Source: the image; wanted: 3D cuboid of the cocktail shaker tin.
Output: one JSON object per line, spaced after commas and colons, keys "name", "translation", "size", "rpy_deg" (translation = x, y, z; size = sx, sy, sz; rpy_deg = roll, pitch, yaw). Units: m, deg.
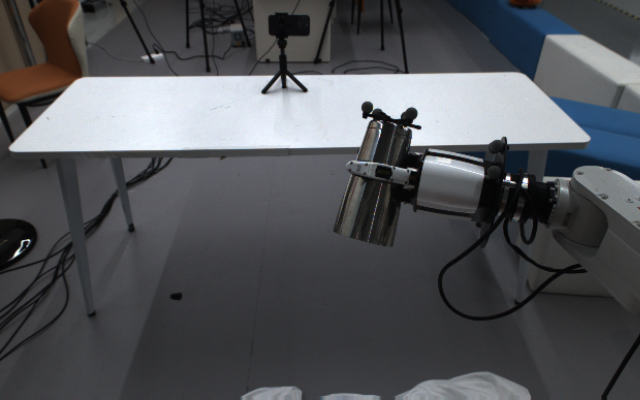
{"name": "cocktail shaker tin", "translation": [0.082, -0.027, 0.713], "size": [0.093, 0.170, 0.093], "rpy_deg": [14, 2, -1]}
